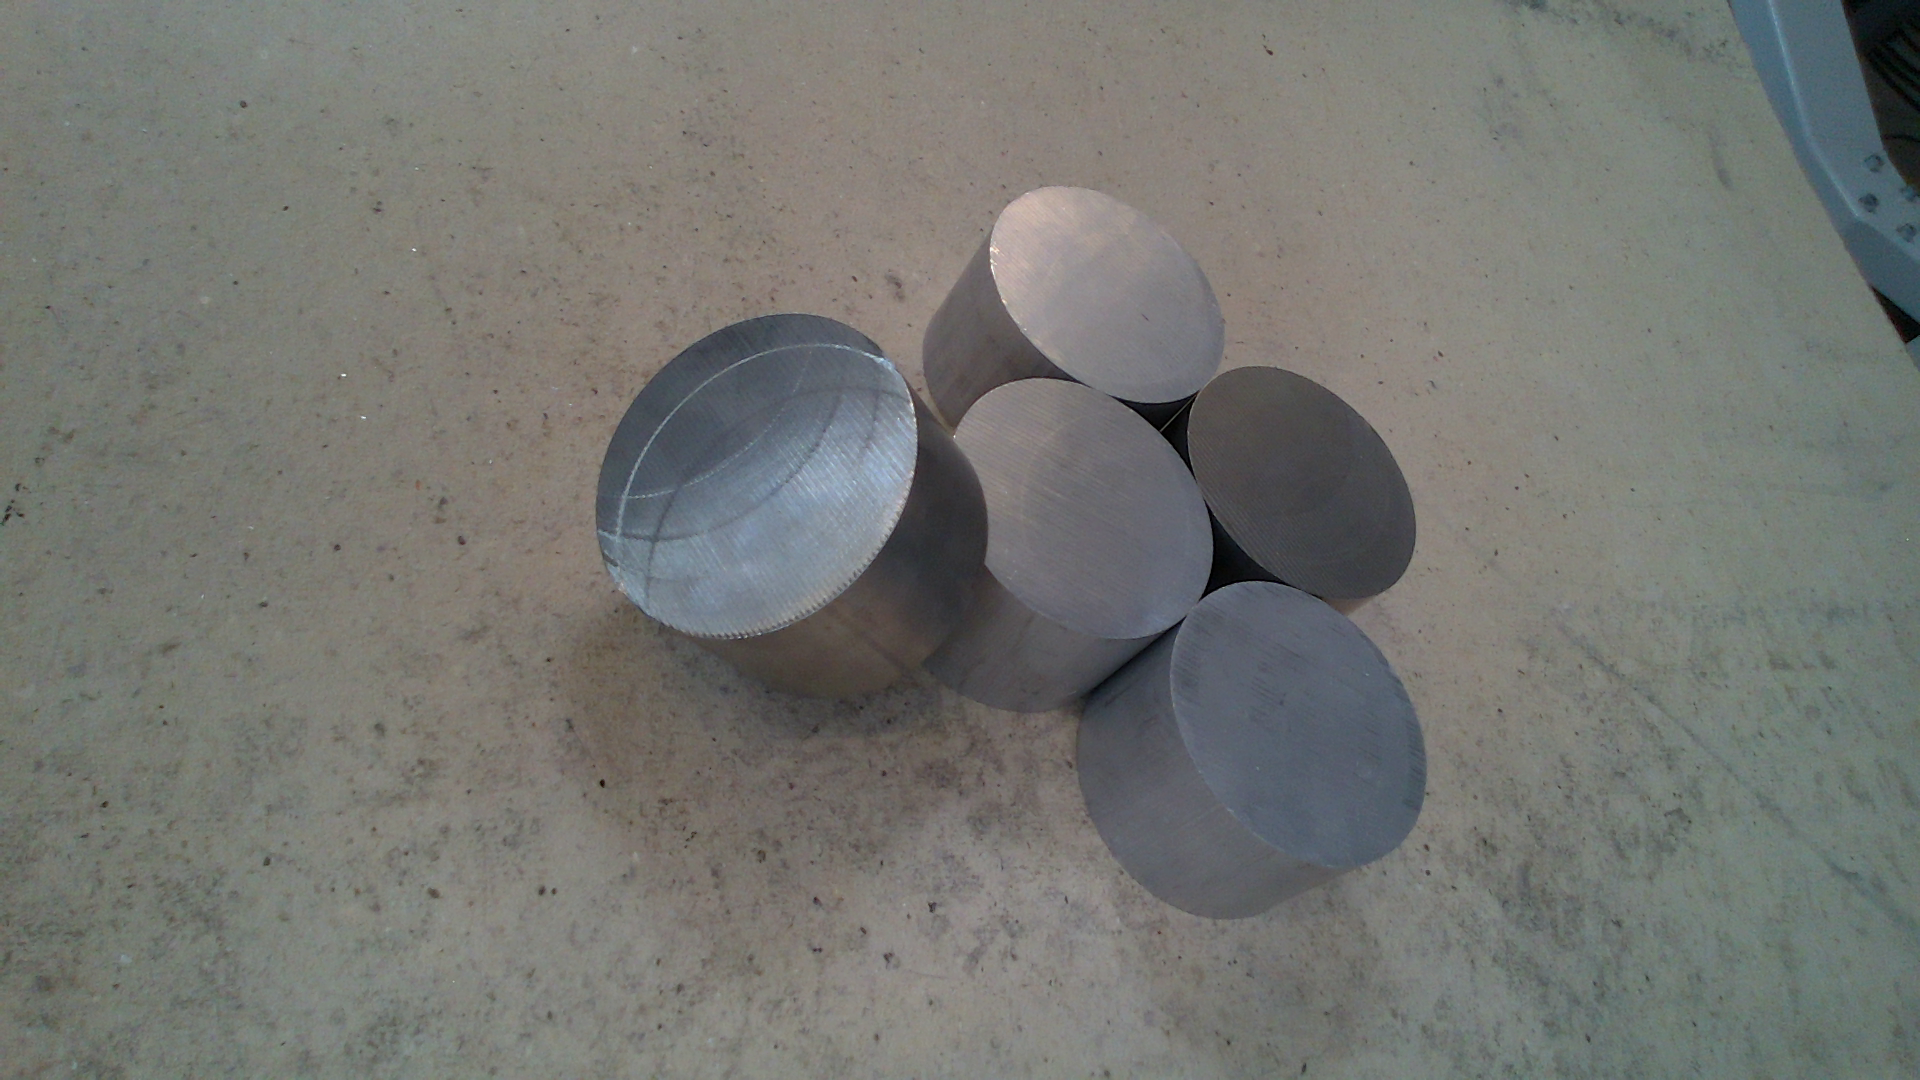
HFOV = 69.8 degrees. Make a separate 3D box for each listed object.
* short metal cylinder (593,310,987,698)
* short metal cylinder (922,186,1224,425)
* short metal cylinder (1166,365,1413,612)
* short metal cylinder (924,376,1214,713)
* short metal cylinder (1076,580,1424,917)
[{"bbox_3d":[-0.039,-0.007,0.331,0.080,0.050,0.080,-7,66,17],"label":"short metal cylinder"},{"bbox_3d":[0.035,-0.063,0.431,0.080,0.050,0.080,14,56,-21],"label":"short metal cylinder"},{"bbox_3d":[0.092,-0.007,0.427,0.080,0.050,0.080,14,56,-21],"label":"short metal cylinder"},{"bbox_3d":[0.023,0.002,0.385,0.080,0.050,0.080,14,56,-21],"label":"short metal cylinder"},{"bbox_3d":[0.079,0.058,0.381,0.080,0.050,0.080,14,56,-21],"label":"short metal cylinder"}]
